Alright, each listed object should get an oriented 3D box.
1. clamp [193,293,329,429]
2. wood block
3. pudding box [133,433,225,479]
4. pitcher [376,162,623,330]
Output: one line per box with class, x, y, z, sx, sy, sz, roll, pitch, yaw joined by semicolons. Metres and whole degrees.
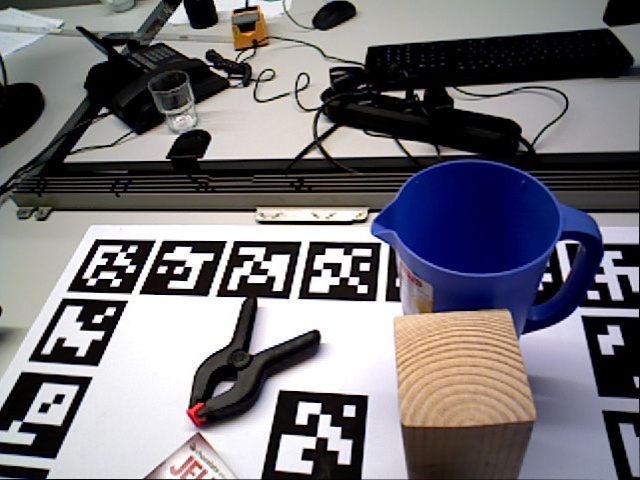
clamp;-0.083;0.143;0.619;0.122;0.037;0.162;29;59;24
wood block;0.116;0.152;0.435;0.090;0.210;0.089;1;47;7
pudding box;-0.128;0.255;0.515;0.088;0.039;0.114;-41;51;-21
pitcher;0.155;0.054;0.497;0.189;0.247;0.130;-1;44;14
